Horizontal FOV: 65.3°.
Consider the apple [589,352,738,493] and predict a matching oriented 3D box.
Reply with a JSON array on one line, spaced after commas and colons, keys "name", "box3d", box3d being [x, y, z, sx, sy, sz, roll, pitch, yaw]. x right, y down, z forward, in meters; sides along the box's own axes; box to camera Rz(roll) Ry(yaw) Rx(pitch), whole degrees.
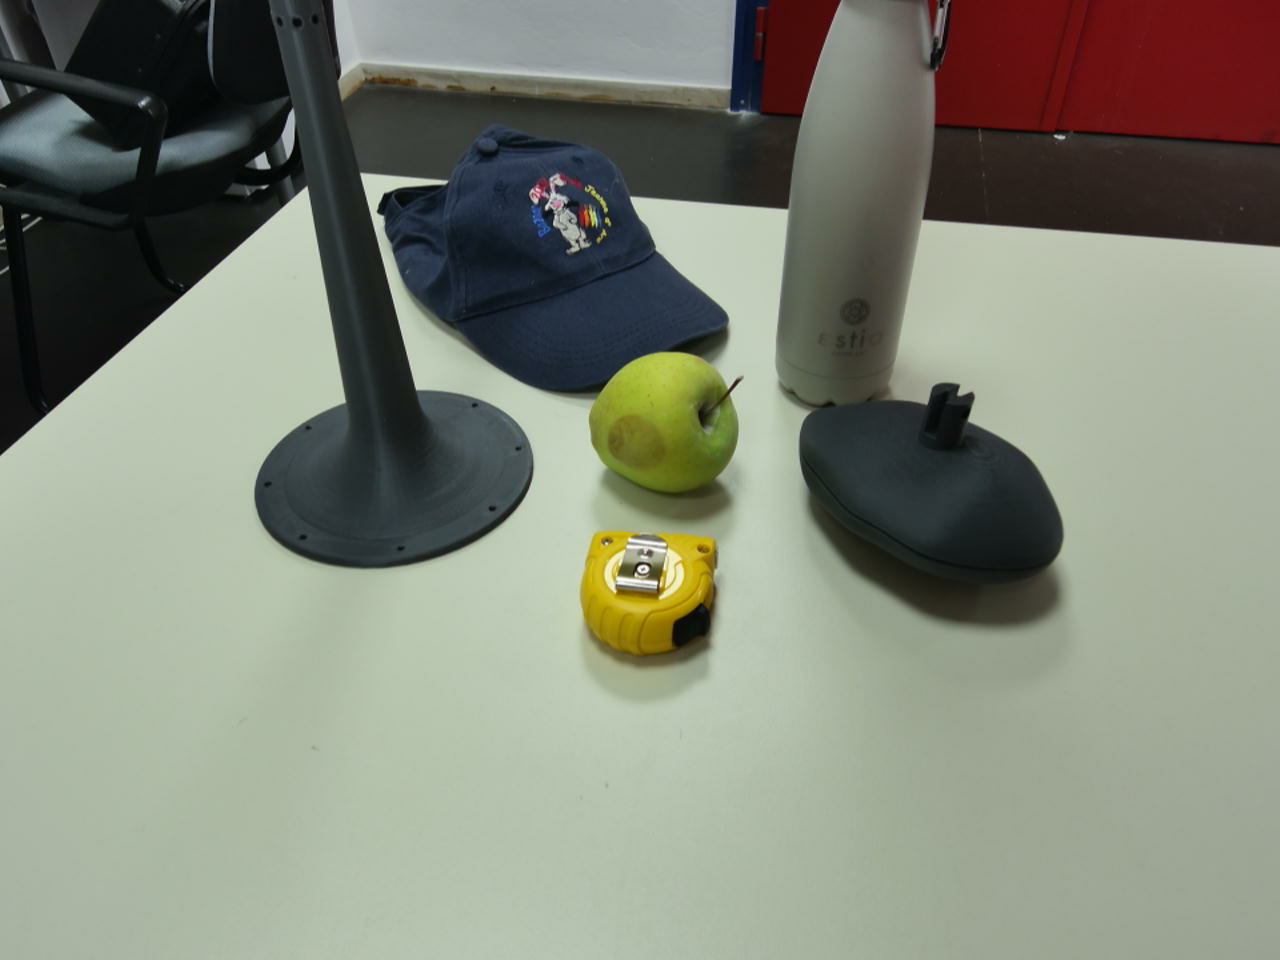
[{"name": "apple", "box3d": [0.013, -0.032, 0.533, 0.072, 0.075, 0.077, -23, 44, -25]}]
